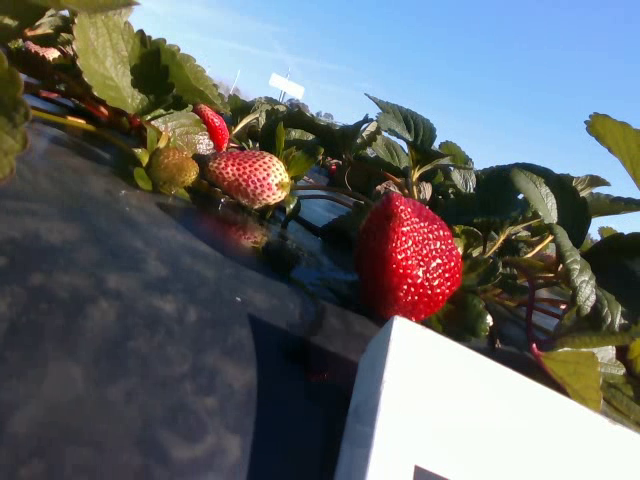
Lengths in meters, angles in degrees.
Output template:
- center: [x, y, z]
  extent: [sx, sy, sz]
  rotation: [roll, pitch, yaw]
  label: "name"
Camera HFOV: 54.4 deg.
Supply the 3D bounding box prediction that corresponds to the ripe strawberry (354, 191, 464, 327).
- center: [0.026, 0.005, 0.214]
  extent: [0.058, 0.066, 0.062]
  rotation: [-26, -24, -14]
  label: "ripe strawberry"
